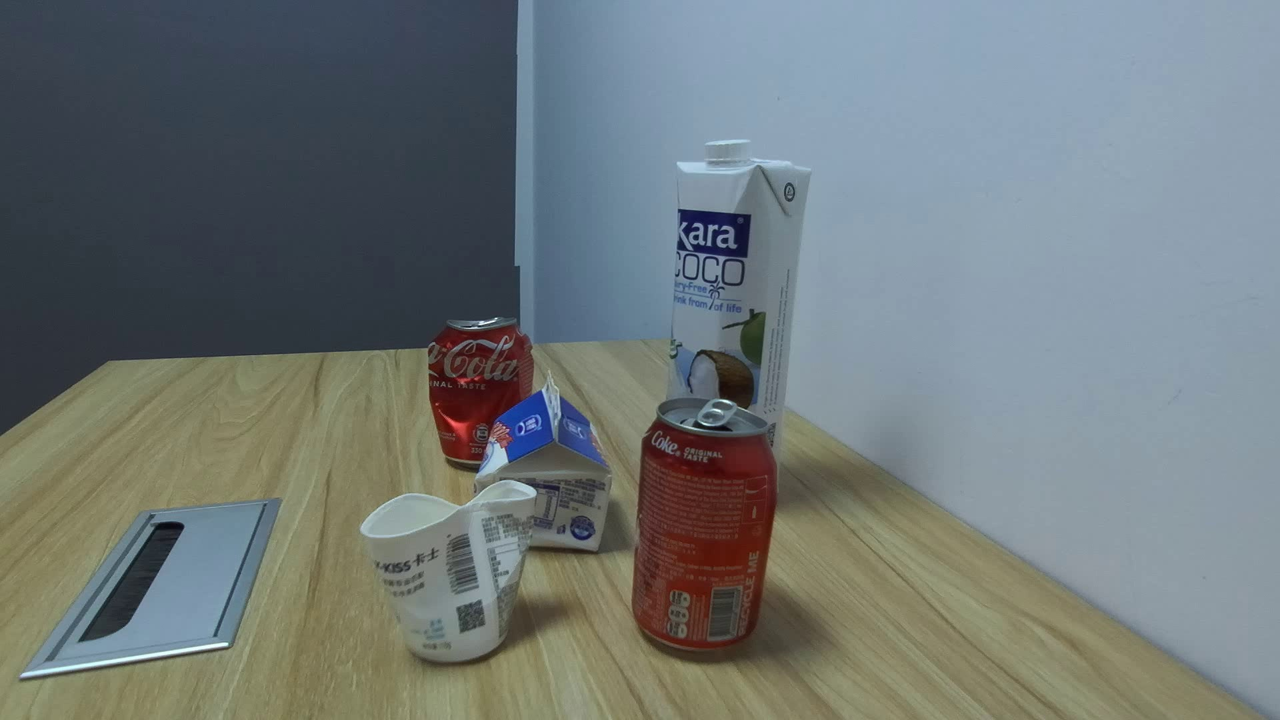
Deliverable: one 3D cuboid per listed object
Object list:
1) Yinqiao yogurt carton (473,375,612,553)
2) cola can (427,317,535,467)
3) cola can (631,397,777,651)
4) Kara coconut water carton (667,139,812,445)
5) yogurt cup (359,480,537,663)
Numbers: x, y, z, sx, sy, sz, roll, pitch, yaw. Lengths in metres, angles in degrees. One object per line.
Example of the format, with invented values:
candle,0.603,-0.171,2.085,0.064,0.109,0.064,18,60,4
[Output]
Yinqiao yogurt carton,-0.061,0.062,0.443,0.080,0.097,0.074,5,17,-12
cola can,-0.120,0.023,0.553,0.069,0.112,0.066,9,16,22
cola can,0.028,0.080,0.353,0.066,0.117,0.072,-5,17,-19
Kara coconut water carton,0.062,-0.022,0.486,0.076,0.245,0.076,-10,19,-44
yogurt cup,-0.090,0.101,0.343,0.053,0.071,0.075,11,19,25
